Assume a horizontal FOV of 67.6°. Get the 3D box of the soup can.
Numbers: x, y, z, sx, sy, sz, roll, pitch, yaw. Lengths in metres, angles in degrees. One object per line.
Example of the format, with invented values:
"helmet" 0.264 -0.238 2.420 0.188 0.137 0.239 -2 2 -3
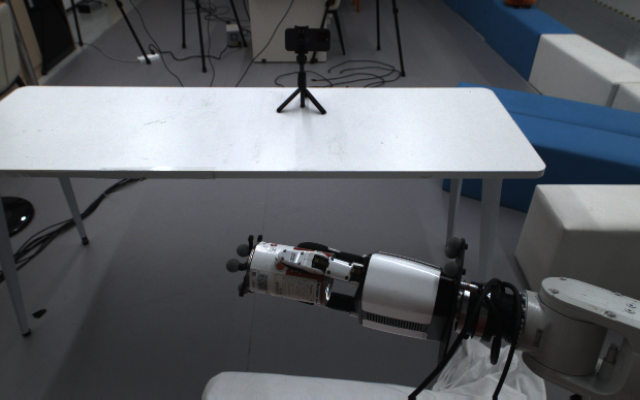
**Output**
"soup can" -0.033 0.094 0.620 0.101 0.067 0.067 8 35 10
